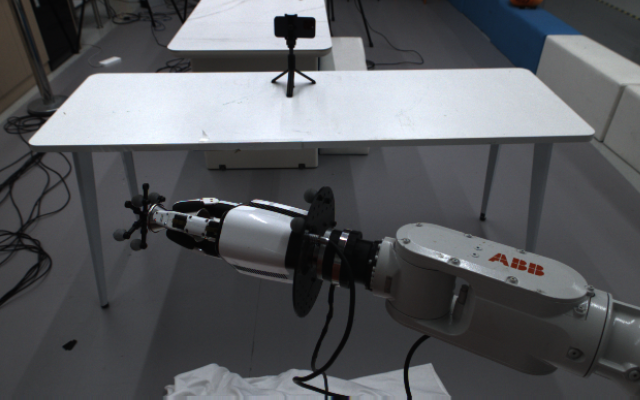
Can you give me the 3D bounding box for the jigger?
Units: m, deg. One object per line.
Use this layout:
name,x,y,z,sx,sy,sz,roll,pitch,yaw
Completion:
jigger,-0.177,0.024,0.627,0.071,0.043,0.043,7,35,14
